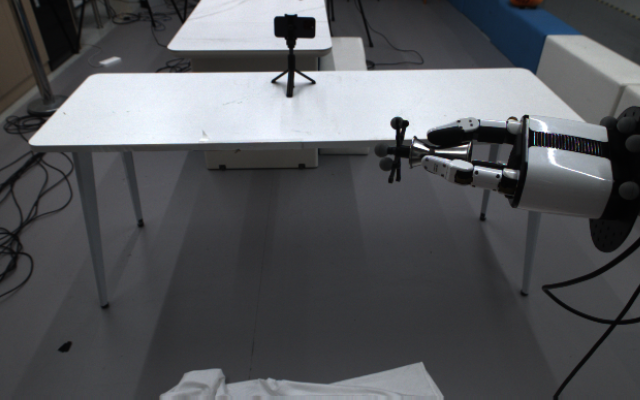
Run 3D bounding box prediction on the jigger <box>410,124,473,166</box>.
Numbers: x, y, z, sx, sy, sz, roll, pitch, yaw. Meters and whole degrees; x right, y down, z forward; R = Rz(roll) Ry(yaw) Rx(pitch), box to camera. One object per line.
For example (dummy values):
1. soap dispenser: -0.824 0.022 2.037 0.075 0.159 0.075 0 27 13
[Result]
1. jigger: 0.151 -0.060 0.580 0.071 0.043 0.043 7 34 21
